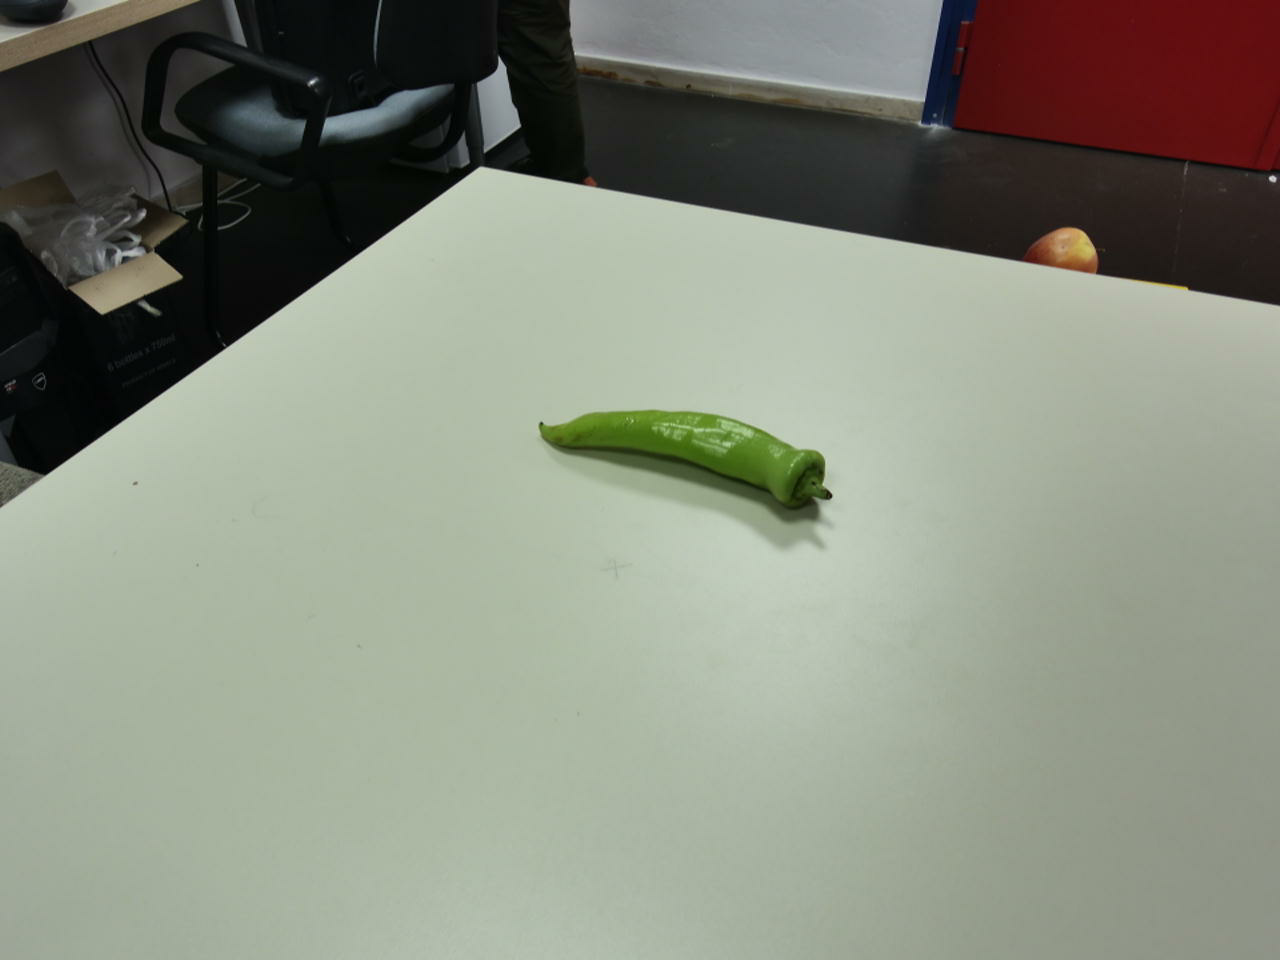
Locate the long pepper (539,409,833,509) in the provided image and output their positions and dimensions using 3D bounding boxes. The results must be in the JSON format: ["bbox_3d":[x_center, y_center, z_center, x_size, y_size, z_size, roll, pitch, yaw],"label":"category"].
[{"bbox_3d":[0.027,-0.024,0.607,0.197,0.038,0.046,17,42,21],"label":"long pepper"}]
